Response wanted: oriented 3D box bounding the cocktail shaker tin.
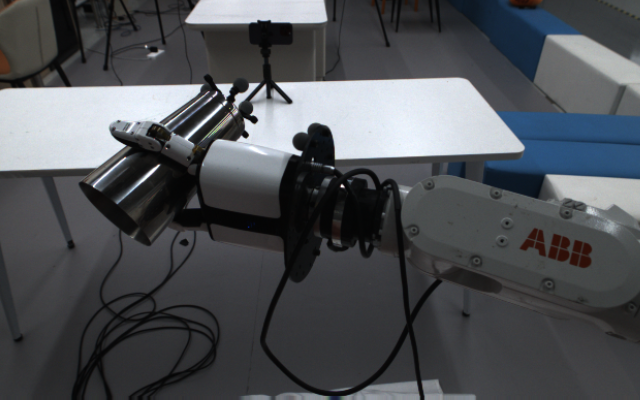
[{"bbox_3d":[-0.160,-0.048,0.525,0.093,0.093,0.170,23,57,27],"label":"cocktail shaker tin"}]
